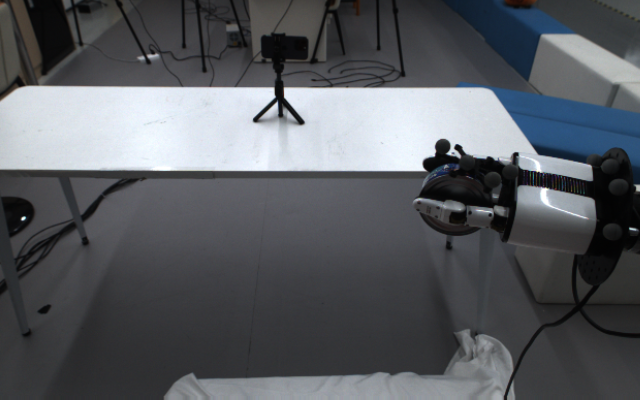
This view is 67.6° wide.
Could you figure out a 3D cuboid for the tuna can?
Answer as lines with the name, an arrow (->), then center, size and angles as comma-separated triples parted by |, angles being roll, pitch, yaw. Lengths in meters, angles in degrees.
tuna can -> 0.166, -0.003, 0.585 | 0.085, 0.085, 0.034 | 12, 33, 14
